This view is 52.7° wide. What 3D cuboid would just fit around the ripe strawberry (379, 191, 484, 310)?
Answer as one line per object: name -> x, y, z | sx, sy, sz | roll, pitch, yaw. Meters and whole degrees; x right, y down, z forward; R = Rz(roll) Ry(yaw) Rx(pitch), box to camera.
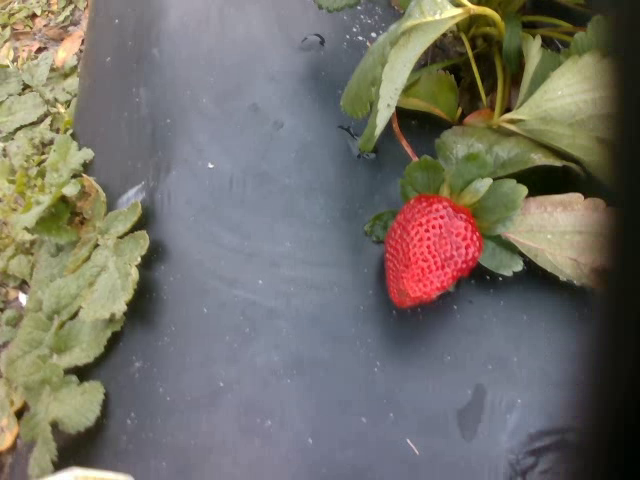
ripe strawberry -> 0.042, 0.007, 0.268 | 0.046, 0.049, 0.064 | -31, 13, 45
